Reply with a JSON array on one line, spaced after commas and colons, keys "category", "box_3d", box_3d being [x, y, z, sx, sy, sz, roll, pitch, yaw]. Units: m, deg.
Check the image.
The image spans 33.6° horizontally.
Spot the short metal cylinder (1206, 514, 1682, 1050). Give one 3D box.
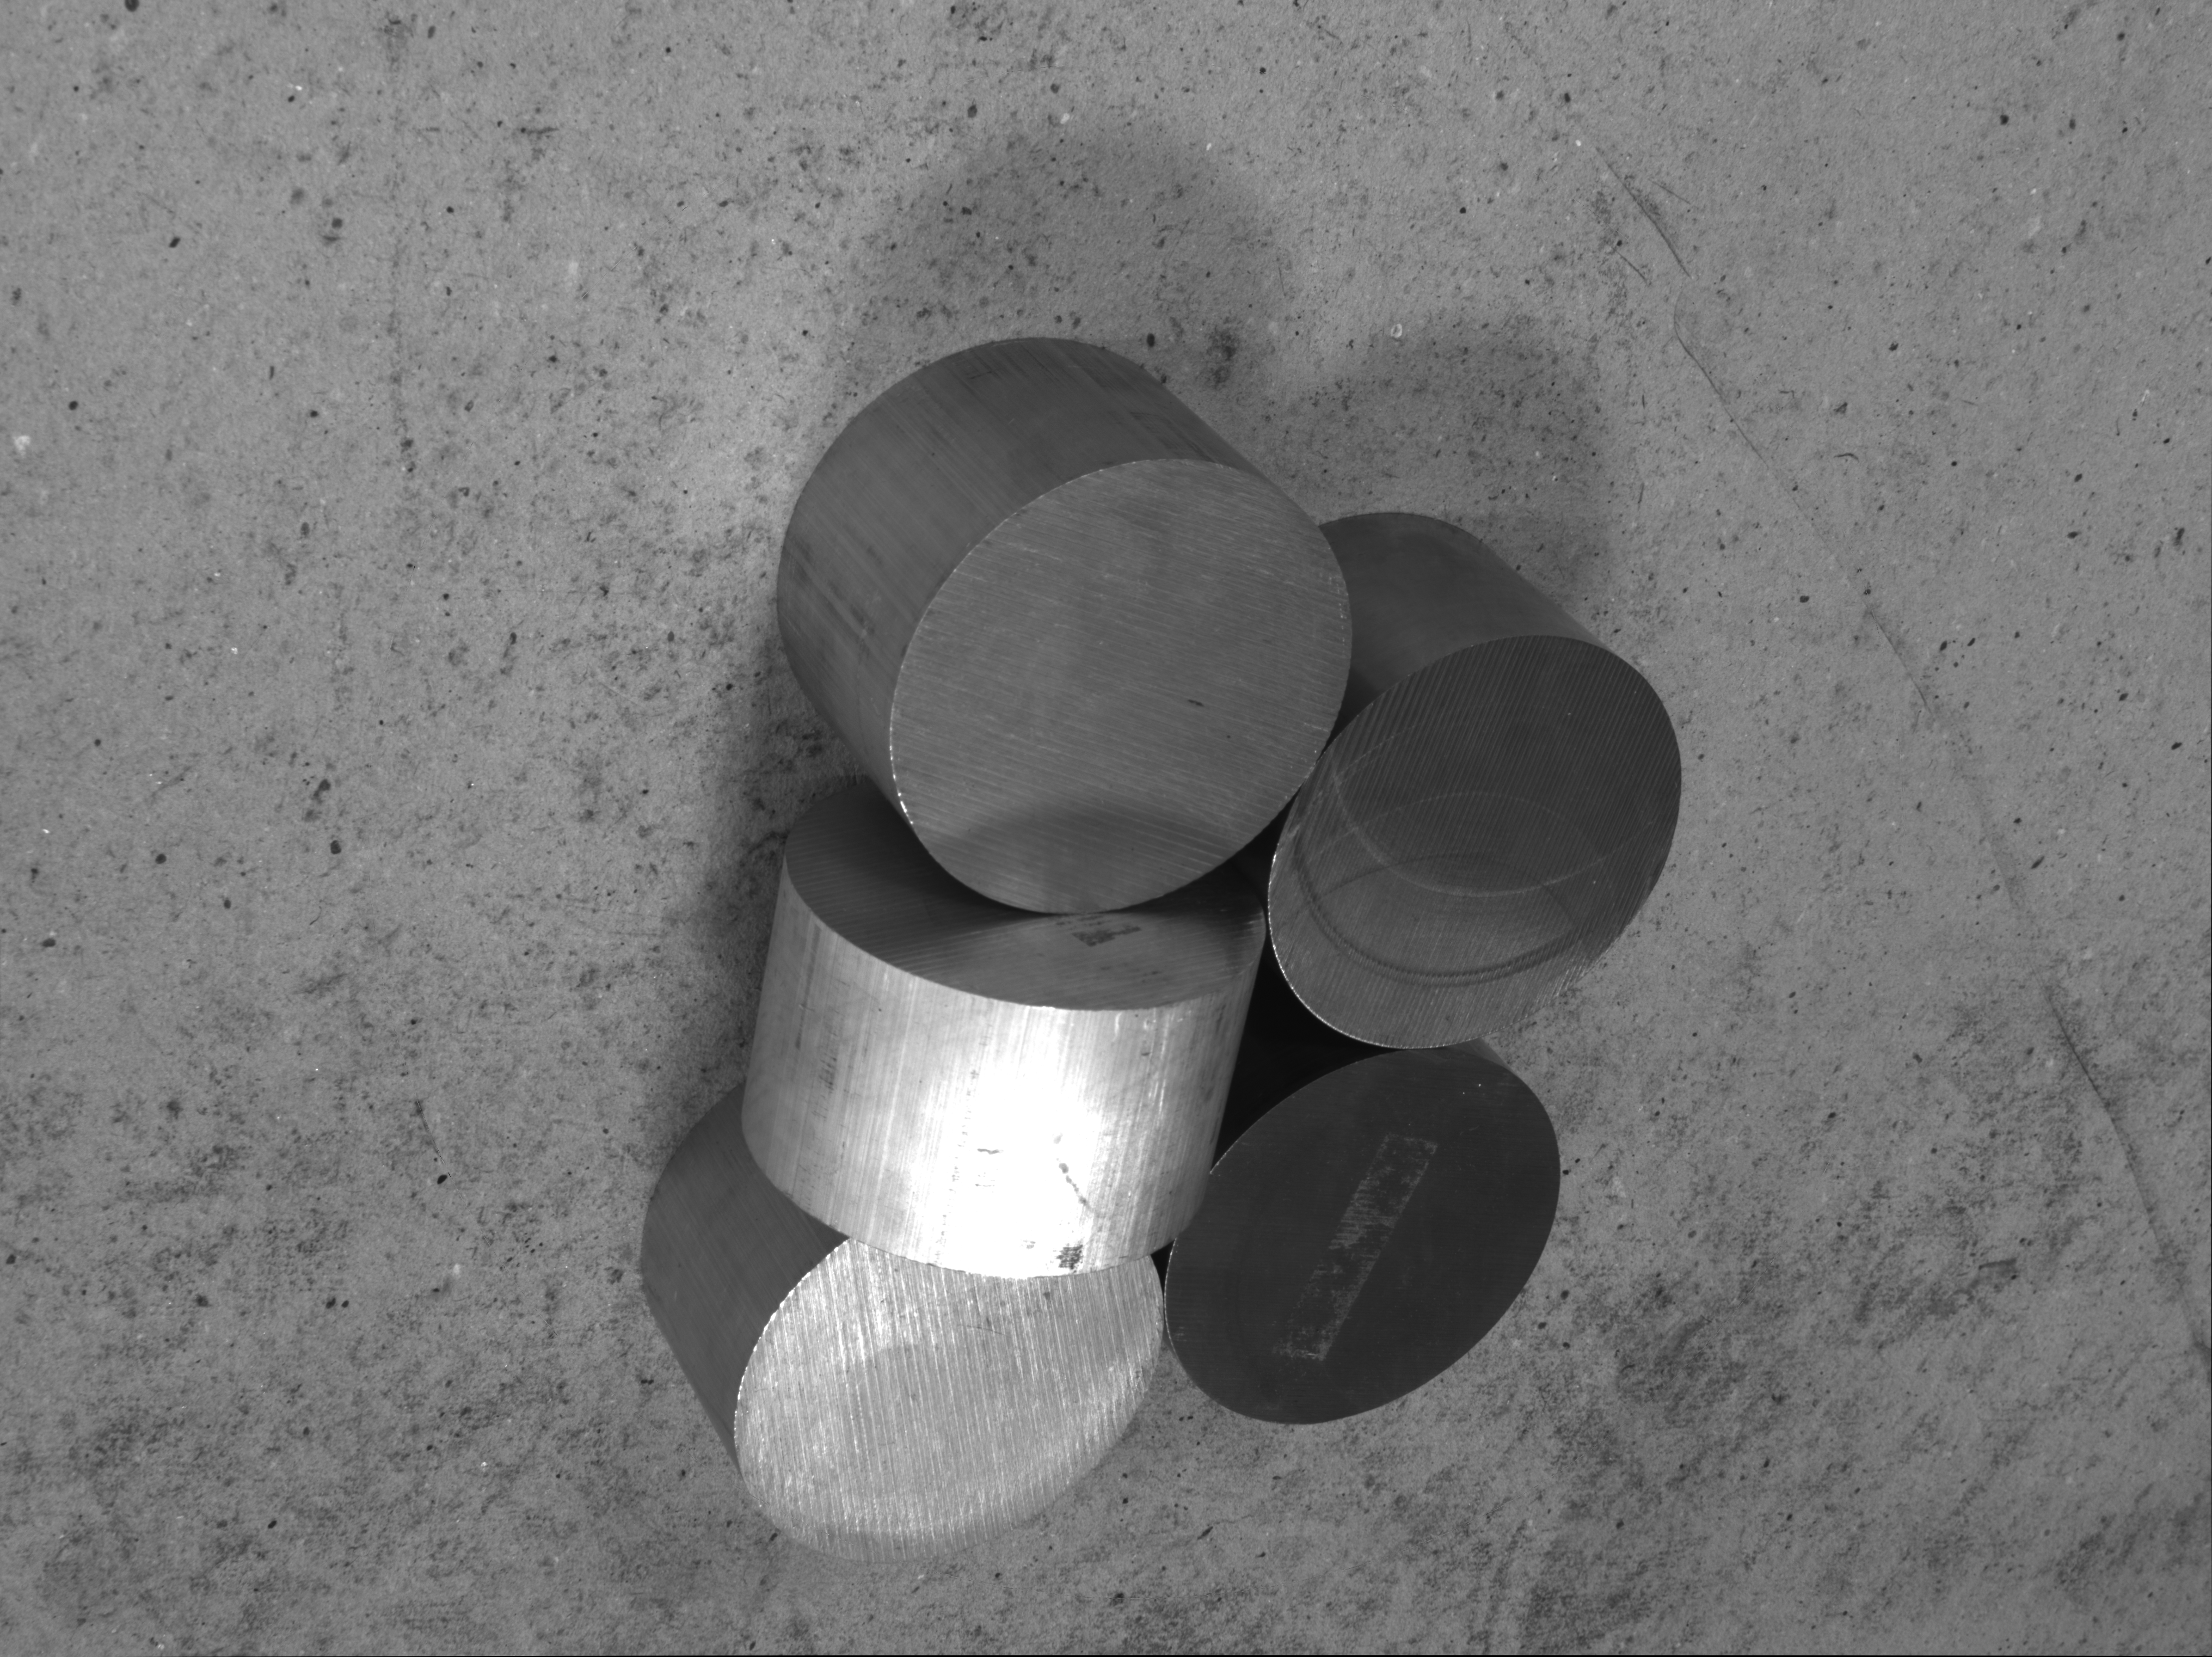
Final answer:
[{"category": "short metal cylinder", "box_3d": [0.054, -0.008, 0.644, 0.080, 0.050, 0.080, -14, 124, -21]}]

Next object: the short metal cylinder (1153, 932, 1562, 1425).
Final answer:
[{"category": "short metal cylinder", "box_3d": [0.037, 0.063, 0.678, 0.080, 0.050, 0.080, -13, 124, -20]}]

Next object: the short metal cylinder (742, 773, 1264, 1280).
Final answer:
[{"category": "short metal cylinder", "box_3d": [-0.018, 0.031, 0.611, 0.080, 0.080, 0.050, -3, 120, -27]}]

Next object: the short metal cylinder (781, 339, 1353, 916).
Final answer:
[{"category": "short metal cylinder", "box_3d": [-0.007, -0.033, 0.598, 0.080, 0.050, 0.080, -13, 124, -20]}]

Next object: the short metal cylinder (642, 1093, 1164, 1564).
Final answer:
[{"category": "short metal cylinder", "box_3d": [-0.036, 0.083, 0.652, 0.080, 0.050, 0.080, -13, 124, -20]}]
